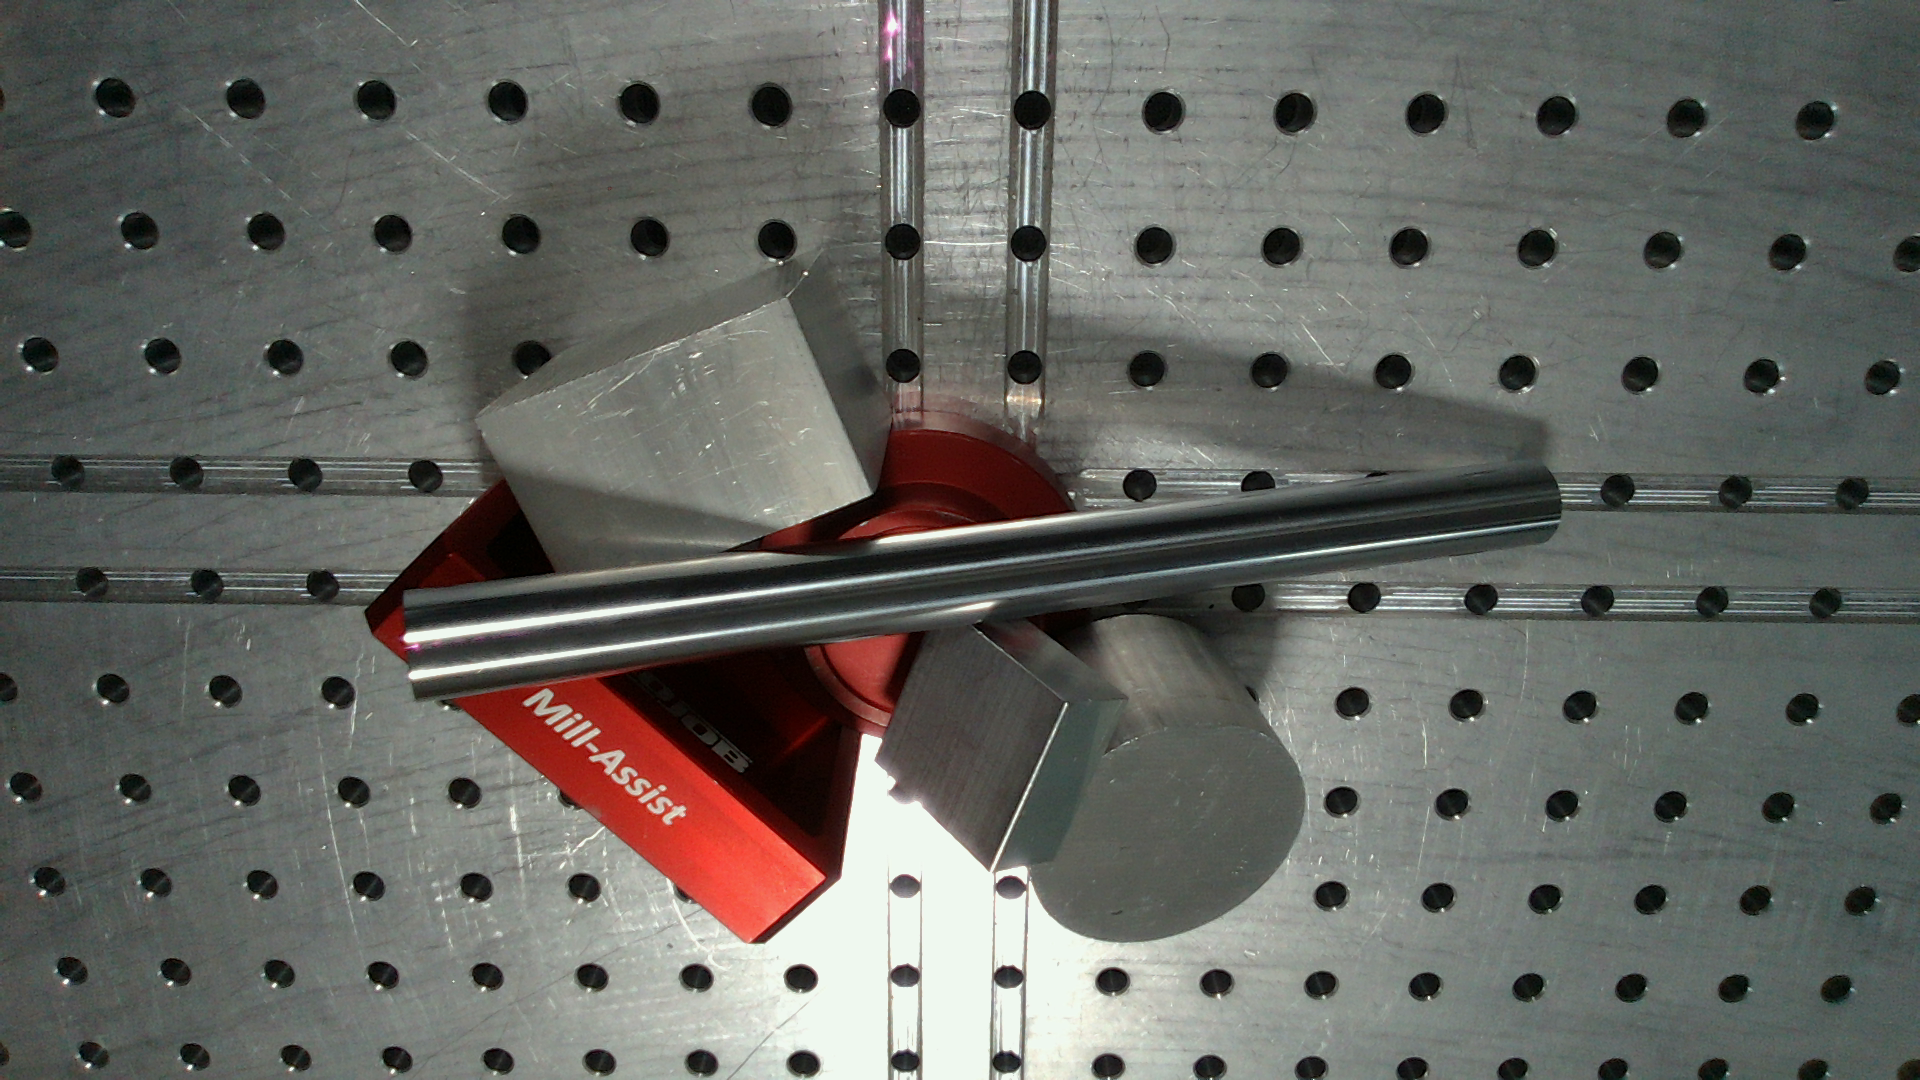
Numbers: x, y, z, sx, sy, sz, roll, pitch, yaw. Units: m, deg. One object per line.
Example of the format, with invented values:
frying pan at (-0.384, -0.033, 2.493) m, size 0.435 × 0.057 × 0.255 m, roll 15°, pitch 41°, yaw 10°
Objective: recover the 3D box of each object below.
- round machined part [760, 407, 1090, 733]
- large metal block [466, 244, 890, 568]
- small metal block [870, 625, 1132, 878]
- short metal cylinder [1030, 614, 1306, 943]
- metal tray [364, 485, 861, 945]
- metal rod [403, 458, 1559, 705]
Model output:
round machined part at (-0.011, 0.015, 0.395) m, size 0.098 × 0.042 × 0.098 m, roll 0°, pitch 110°, yaw 0°
large metal block at (-0.066, -0.033, 0.353) m, size 0.080 × 0.080 × 0.050 m, roll -20°, pitch 109°, yaw 7°
small metal block at (0.009, 0.050, 0.355) m, size 0.025 × 0.050 × 0.050 m, roll 3°, pitch 115°, yaw -47°
short metal cylinder at (0.051, 0.069, 0.396) m, size 0.080 × 0.050 × 0.080 m, roll -8°, pitch 124°, yaw -12°
metal tray at (-0.085, 0.038, 0.375) m, size 0.030 × 0.090 × 0.130 m, roll -42°, pitch 105°, yaw 14°
metal rod at (0.022, 0.006, 0.348) m, size 0.301 × 0.025 × 0.025 m, roll -7°, pitch 111°, yaw -18°
